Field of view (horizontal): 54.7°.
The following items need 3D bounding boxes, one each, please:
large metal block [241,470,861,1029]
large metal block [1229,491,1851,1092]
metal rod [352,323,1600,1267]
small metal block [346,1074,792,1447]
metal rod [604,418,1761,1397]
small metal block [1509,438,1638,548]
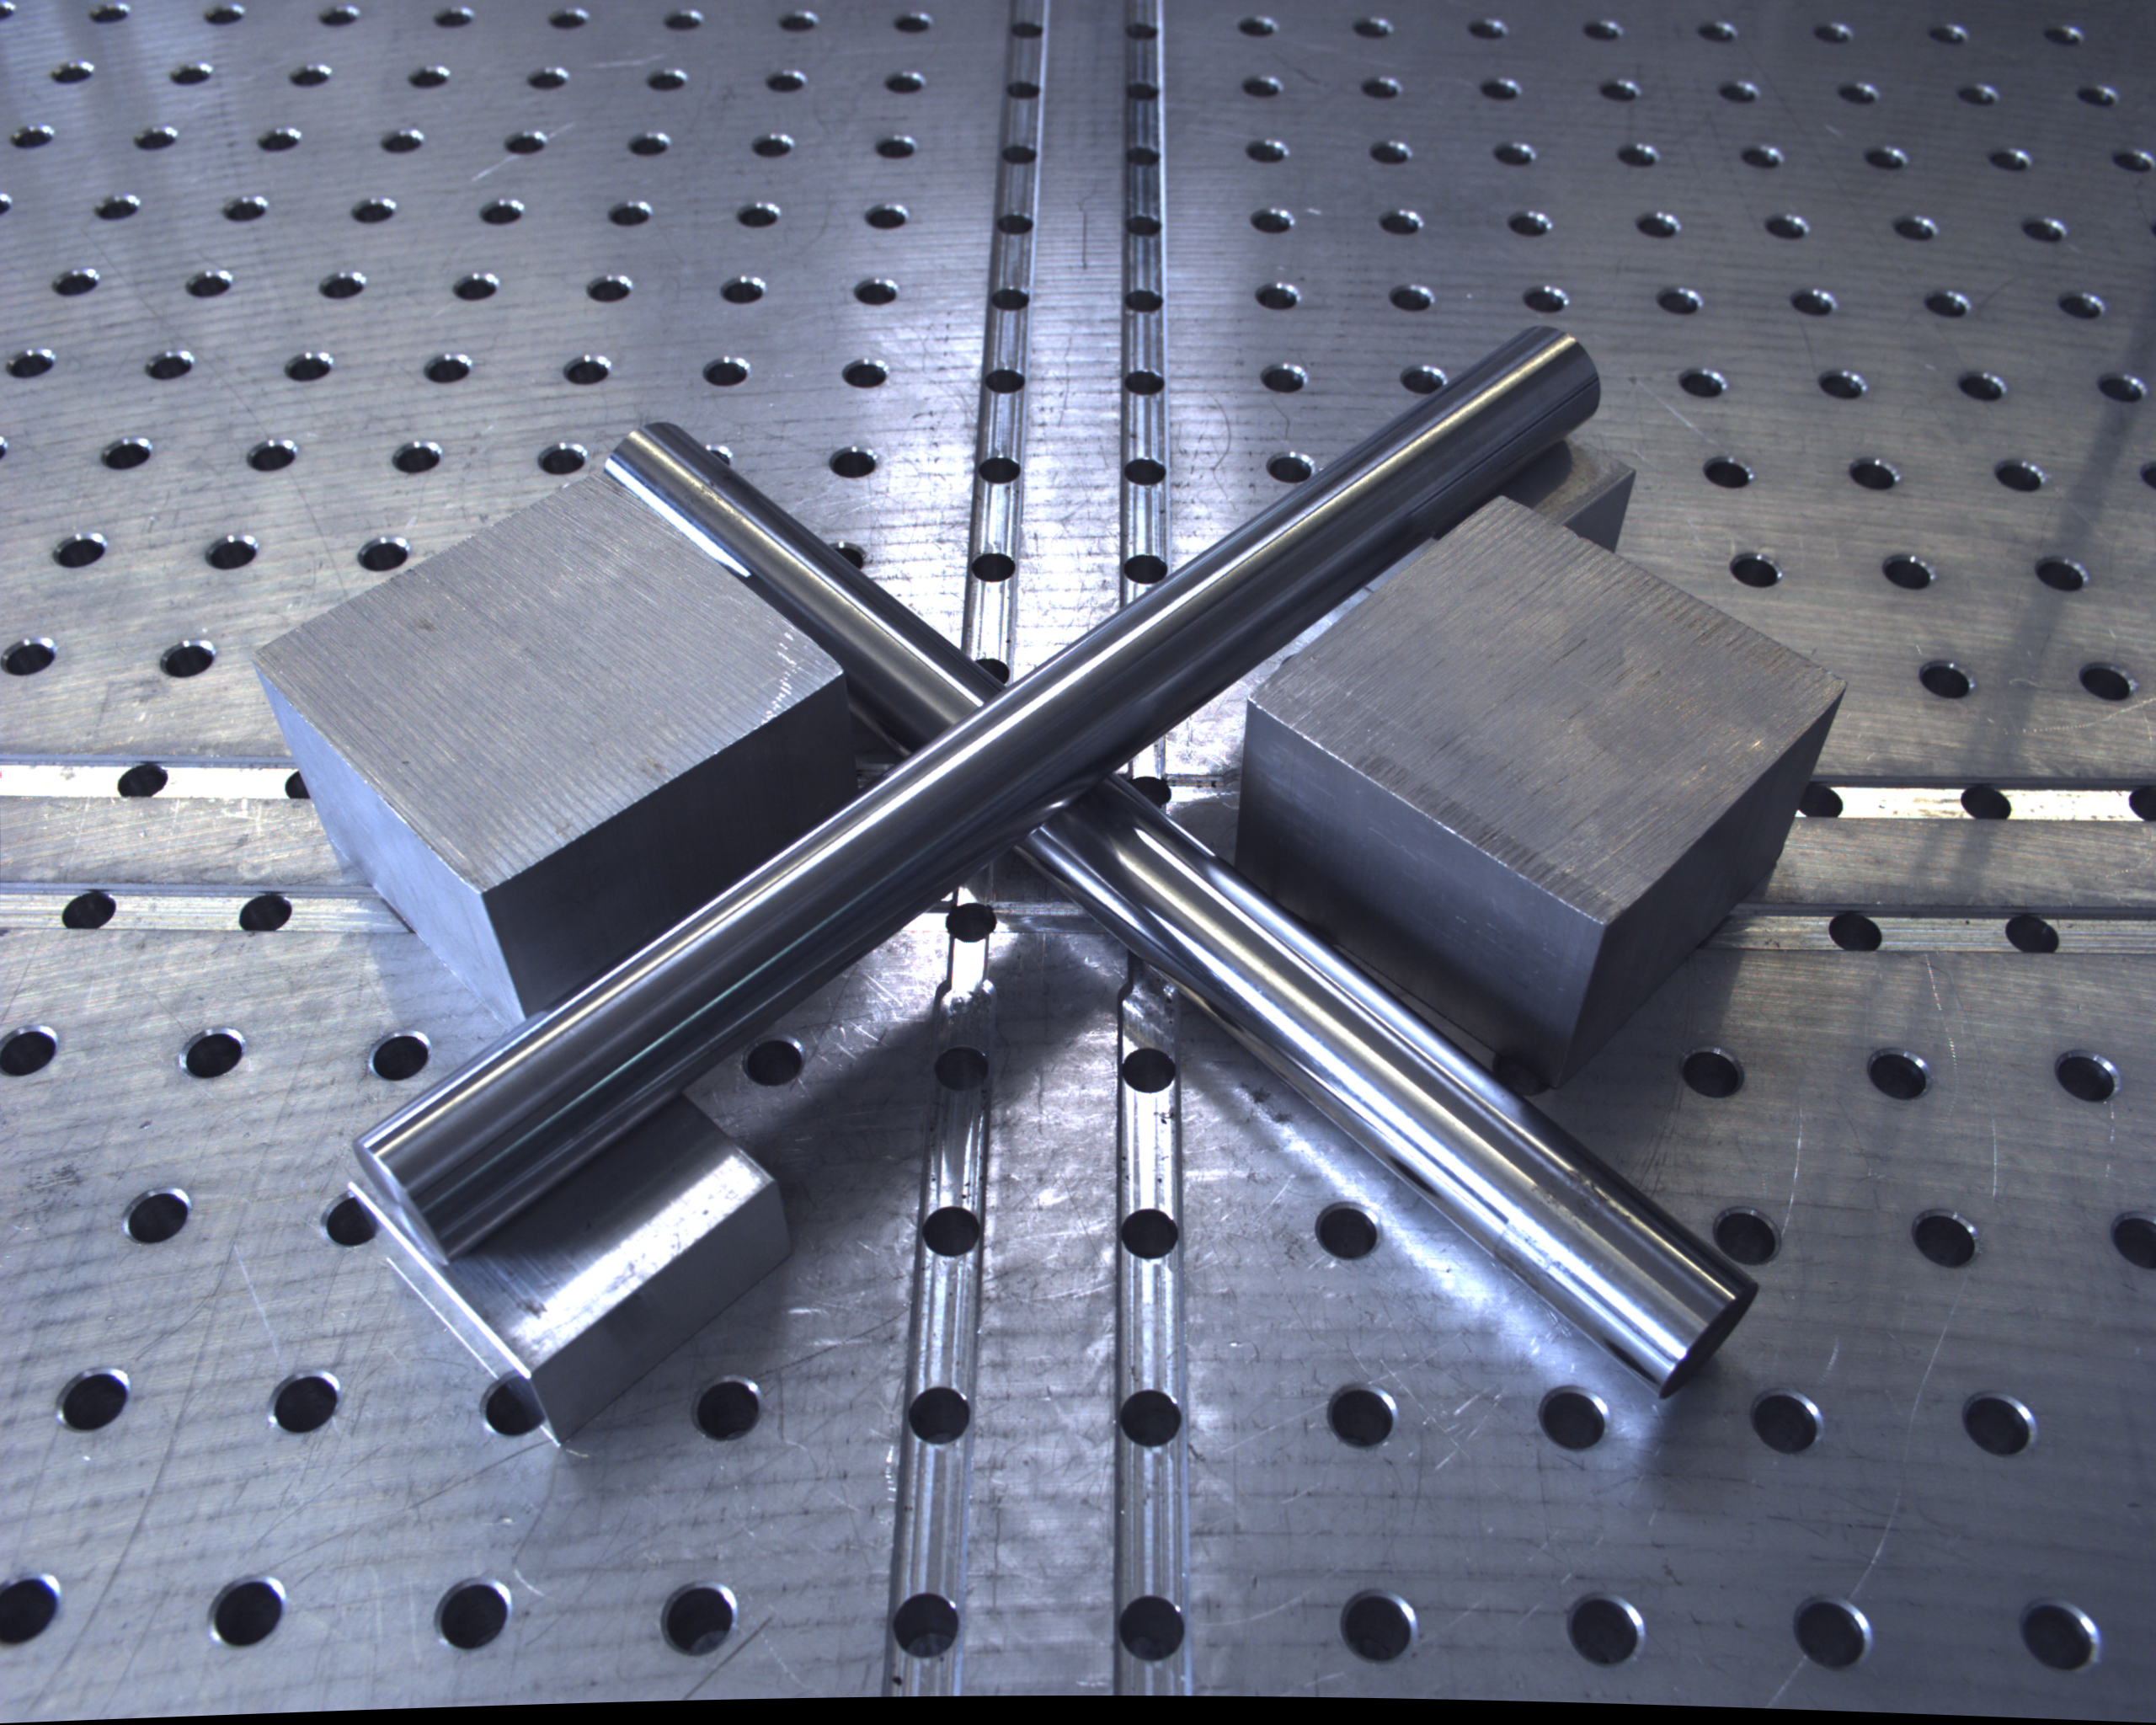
[{"bbox_3d":[-0.100,-0.021,0.408,0.080,0.050,0.080,-36,59,-26],"label":"large metal block"},{"bbox_3d":[0.087,-0.016,0.406,0.080,0.050,0.080,36,58,26],"label":"large metal block"},{"bbox_3d":[0.000,-0.028,0.398,0.025,0.025,0.302,37,59,27],"label":"metal rod"},{"bbox_3d":[-0.086,0.061,0.356,0.050,0.025,0.050,37,59,27],"label":"small metal block"},{"bbox_3d":[0.002,-0.007,0.412,0.025,0.025,0.300,-35,59,-26],"label":"metal rod"},{"bbox_3d":[0.089,-0.080,0.476,0.050,0.025,0.050,-37,59,-27],"label":"small metal block"}]
